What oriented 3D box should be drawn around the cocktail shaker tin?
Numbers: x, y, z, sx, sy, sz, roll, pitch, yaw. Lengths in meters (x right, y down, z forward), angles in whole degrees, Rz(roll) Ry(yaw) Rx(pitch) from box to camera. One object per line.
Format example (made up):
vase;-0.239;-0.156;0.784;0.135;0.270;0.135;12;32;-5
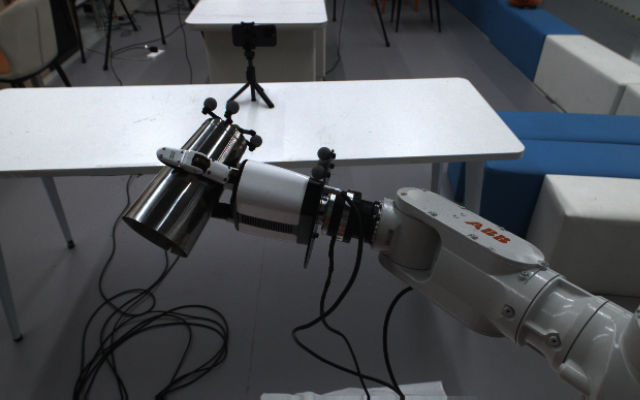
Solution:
cocktail shaker tin;-0.163;-0.025;0.625;0.093;0.093;0.170;18;66;21
